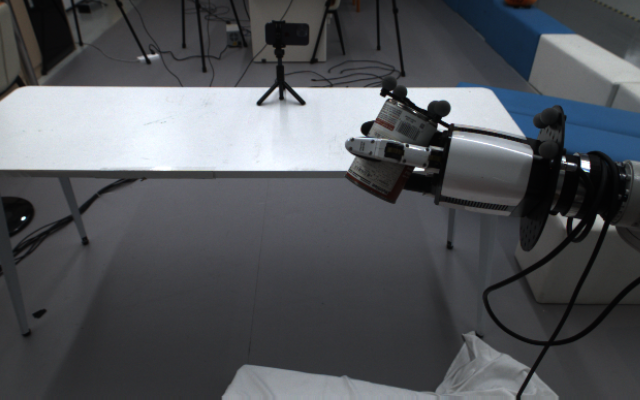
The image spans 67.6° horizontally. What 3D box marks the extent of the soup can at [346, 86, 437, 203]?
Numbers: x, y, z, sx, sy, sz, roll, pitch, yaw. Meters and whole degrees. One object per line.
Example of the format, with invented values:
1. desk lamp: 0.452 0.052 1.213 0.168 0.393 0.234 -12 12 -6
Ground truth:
1. soup can: 0.082 -0.057 0.559 0.067 0.101 0.067 28 9 -5
